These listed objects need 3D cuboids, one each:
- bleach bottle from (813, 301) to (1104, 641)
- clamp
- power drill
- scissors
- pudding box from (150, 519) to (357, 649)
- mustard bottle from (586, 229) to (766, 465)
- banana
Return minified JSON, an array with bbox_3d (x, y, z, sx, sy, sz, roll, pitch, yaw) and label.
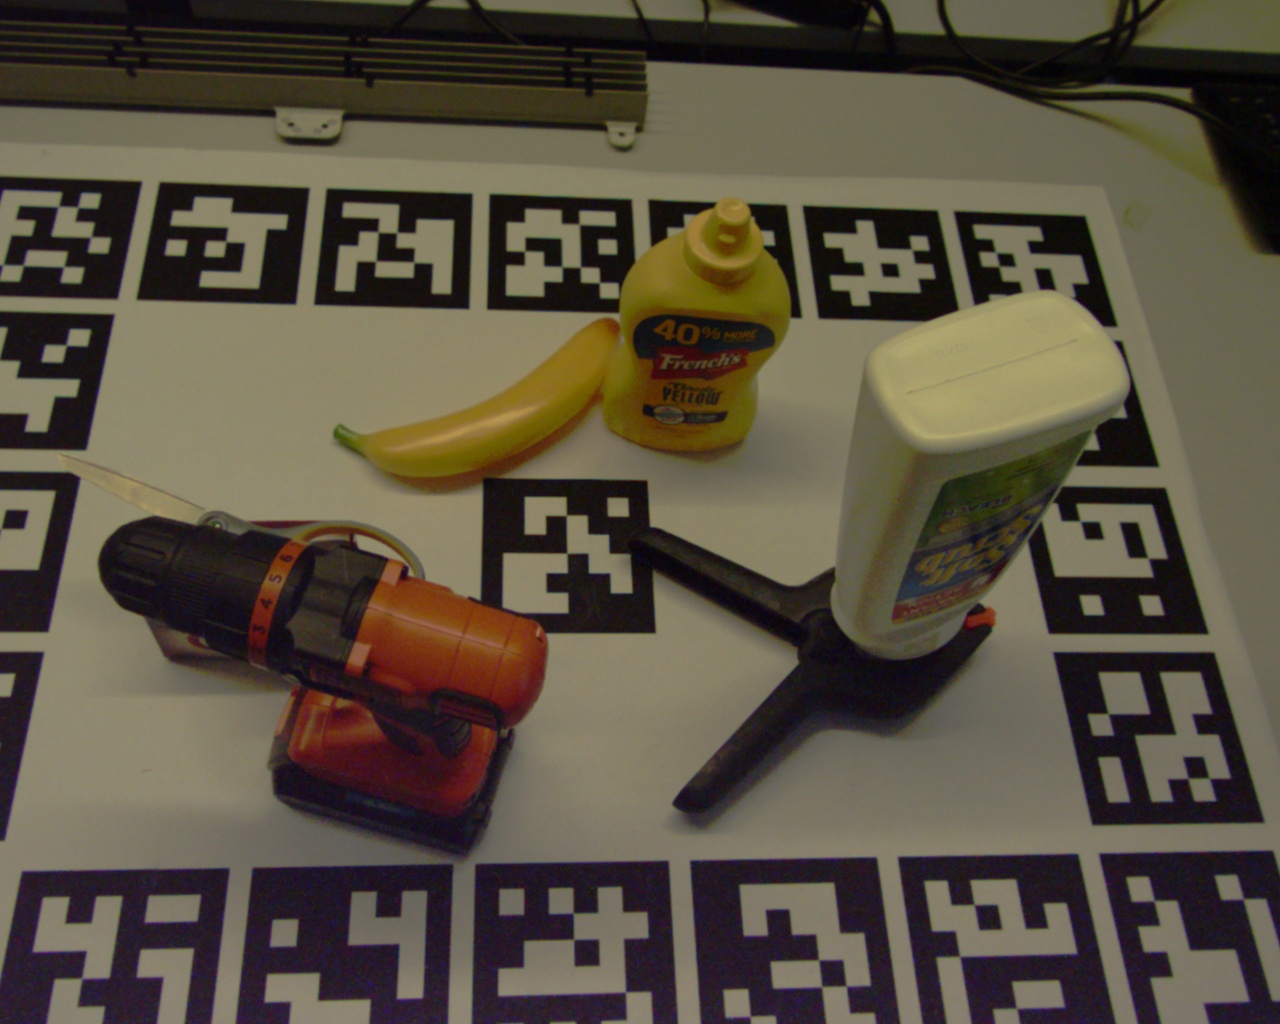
[{"bbox_3d":[0.146,0.003,0.589,0.102,0.250,0.068,-20,63,-9],"label":"bleach bottle"},{"bbox_3d":[0.100,0.065,0.670,0.202,0.036,0.166,-6,65,-11],"label":"clamp"},{"bbox_3d":[-0.140,0.083,0.533,0.185,0.187,0.057,11,55,2],"label":"power drill"},{"bbox_3d":[-0.214,0.008,0.579,0.203,0.016,0.087,24,66,1],"label":"scissors"},{"bbox_3d":[-0.212,0.044,0.633,0.113,0.090,0.039,4,55,-5],"label":"pudding box"},{"bbox_3d":[0.024,-0.100,0.684,0.096,0.191,0.058,13,61,-2],"label":"mustard bottle"},{"bbox_3d":[-0.092,-0.082,0.736,0.196,0.038,0.075,-38,56,-22],"label":"banana"}]
